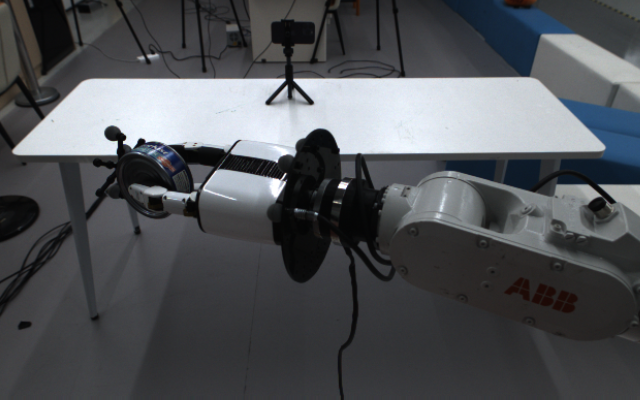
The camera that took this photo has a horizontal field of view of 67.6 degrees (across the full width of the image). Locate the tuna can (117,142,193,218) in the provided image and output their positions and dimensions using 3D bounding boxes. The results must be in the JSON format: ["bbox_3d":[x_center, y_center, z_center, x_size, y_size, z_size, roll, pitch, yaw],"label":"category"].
[{"bbox_3d":[-0.187,-0.018,0.556,0.085,0.085,0.034,14,31,16],"label":"tuna can"}]
